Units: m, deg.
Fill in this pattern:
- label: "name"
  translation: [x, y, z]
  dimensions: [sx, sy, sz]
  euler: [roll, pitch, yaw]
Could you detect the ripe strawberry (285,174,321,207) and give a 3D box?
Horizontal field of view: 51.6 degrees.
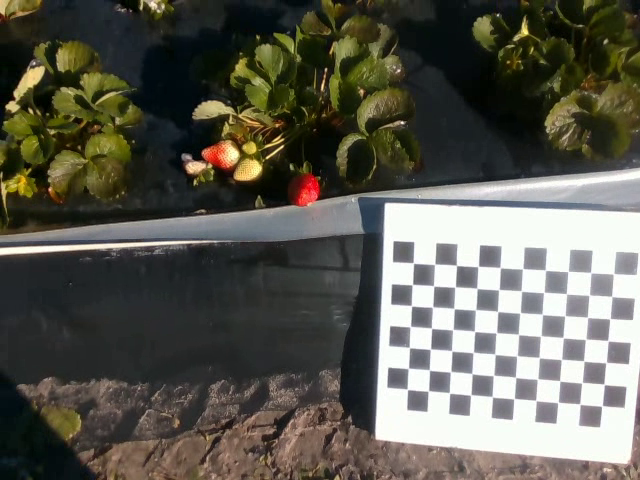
- label: "ripe strawberry"
  translation: [-0.019, -0.044, 0.619]
  dimensions: [0.036, 0.038, 0.046]
  euler: [0, 19, 11]
